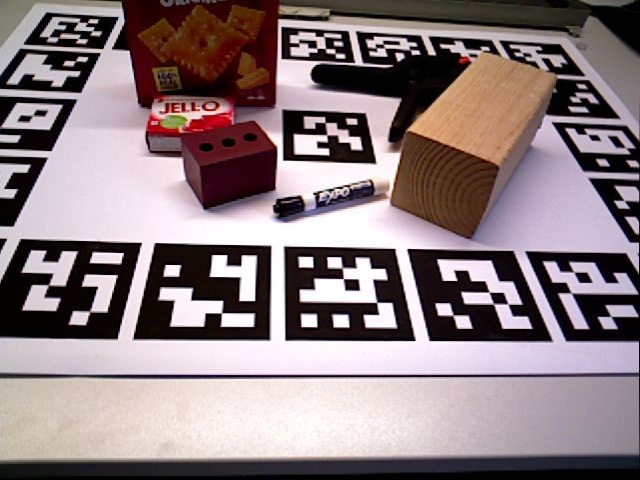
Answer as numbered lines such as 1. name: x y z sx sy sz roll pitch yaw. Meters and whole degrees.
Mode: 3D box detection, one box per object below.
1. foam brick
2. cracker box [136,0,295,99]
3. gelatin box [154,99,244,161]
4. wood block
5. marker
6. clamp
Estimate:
1. foam brick: -0.080 -0.067 0.514 0.077 0.052 0.052 -18 53 -21
2. cracker box: -0.108 -0.259 0.572 0.163 0.219 0.071 0 45 -9
3. gelatin box: -0.126 -0.118 0.576 0.089 0.031 0.072 0 48 -5
4. wood block: 0.168 -0.097 0.546 0.090 0.093 0.201 26 47 21
5. marker: 0.008 -0.033 0.512 0.119 0.020 0.019 -14 51 -18
6. clamp: 0.120 -0.189 0.661 0.199 0.037 0.165 -23 54 -25
